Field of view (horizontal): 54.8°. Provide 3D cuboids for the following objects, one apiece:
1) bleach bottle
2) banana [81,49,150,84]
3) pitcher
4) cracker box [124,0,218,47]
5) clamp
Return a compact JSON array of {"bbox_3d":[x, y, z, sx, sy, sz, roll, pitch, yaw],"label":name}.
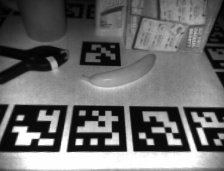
[{"bbox_3d":[-0.012,-0.264,0.579,0.103,0.252,0.067,1,45,-2],"label":"bleach bottle"},{"bbox_3d":[0.027,-0.044,0.525,0.199,0.039,0.073,-25,52,-25],"label":"banana"},{"bbox_3d":[-0.199,-0.254,0.527,0.190,0.243,0.132,-11,46,-17],"label":"pitcher"},{"bbox_3d":[0.141,-0.188,0.554,0.213,0.165,0.071,1,43,0],"label":"cracker box"},{"bbox_3d":[-0.192,-0.073,0.524,0.166,0.037,0.120,-9,46,-16],"label":"clamp"}]
